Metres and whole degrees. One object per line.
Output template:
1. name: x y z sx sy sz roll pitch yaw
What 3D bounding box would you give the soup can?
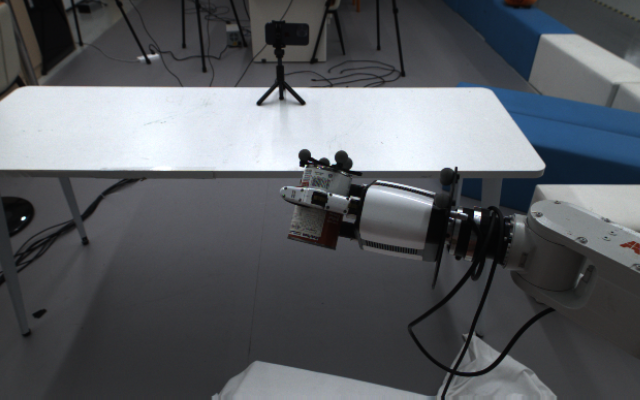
1. soup can: 0.001 0.011 0.649 0.067 0.101 0.067 13 -6 1
